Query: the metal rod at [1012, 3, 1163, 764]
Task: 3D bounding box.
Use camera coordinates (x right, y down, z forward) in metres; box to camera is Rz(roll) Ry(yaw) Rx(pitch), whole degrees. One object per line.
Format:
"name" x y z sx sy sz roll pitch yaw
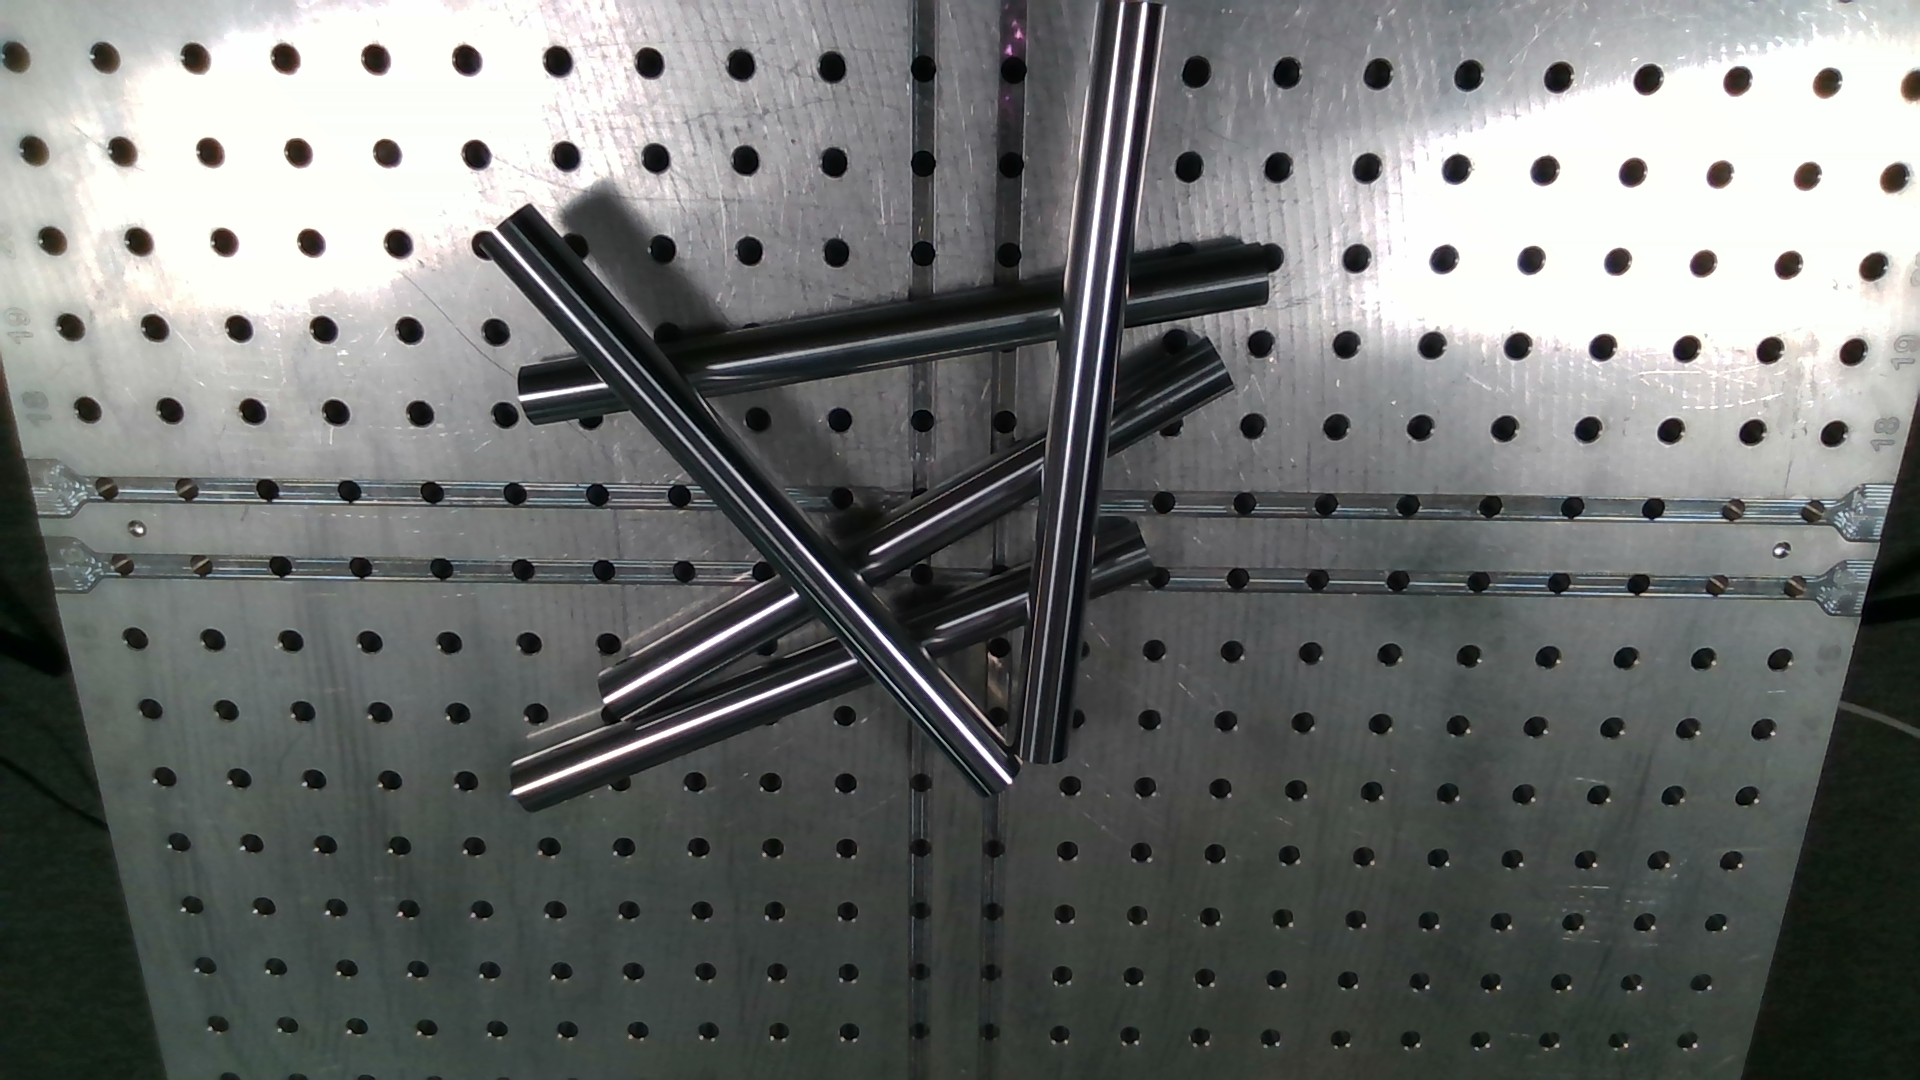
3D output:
"metal rod" 0.047 -0.050 0.542 0.025 0.025 0.301 5 110 -2

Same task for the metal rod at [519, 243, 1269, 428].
"metal rod" -0.028 -0.082 0.556 0.300 0.025 0.025 -9 110 3

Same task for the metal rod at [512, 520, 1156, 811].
"metal rod" -0.059 0.057 0.608 0.300 0.025 0.025 -21 109 8

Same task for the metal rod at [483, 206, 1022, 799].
"metal rod" -0.076 -0.007 0.557 0.025 0.025 0.300 -37 106 12

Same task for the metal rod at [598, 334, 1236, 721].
"metal rod" -0.024 -0.002 0.586 0.300 0.025 0.025 -29 108 10
